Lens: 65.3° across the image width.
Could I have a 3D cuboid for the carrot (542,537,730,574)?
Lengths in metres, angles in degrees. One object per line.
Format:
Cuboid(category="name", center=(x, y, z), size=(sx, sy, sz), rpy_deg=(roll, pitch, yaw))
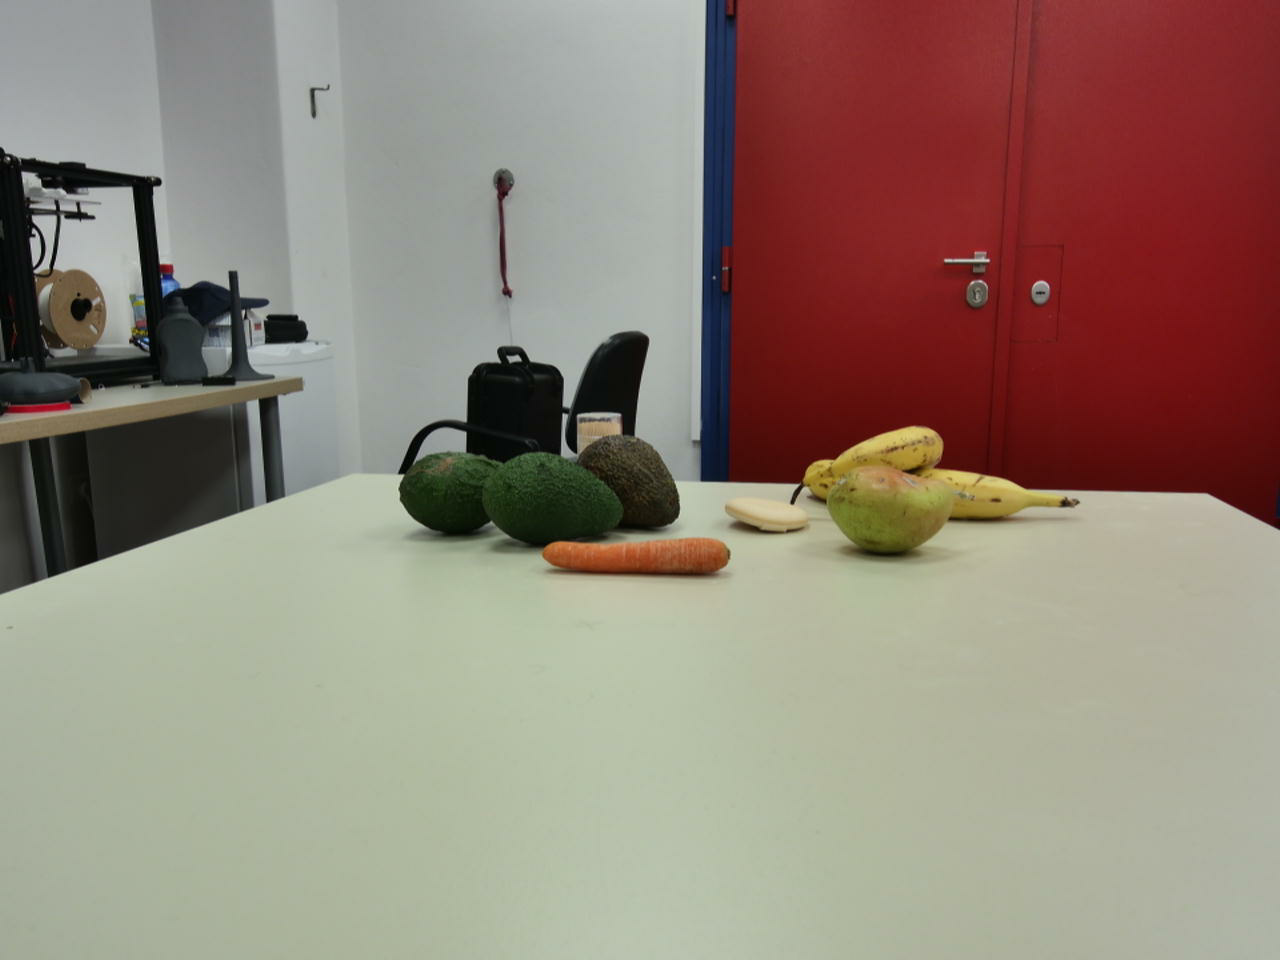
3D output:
Cuboid(category="carrot", center=(-0.003, 0.048, 0.643), size=(0.122, 0.023, 0.024), rpy_deg=(1, 8, 8))
